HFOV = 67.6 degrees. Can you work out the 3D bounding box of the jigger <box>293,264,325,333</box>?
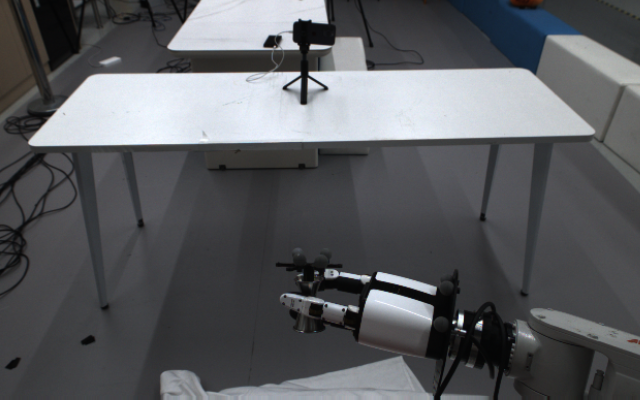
[{"bbox_3d":[-0.014,0.137,0.649,0.043,0.071,0.043,-1,2,0],"label":"jigger"}]
